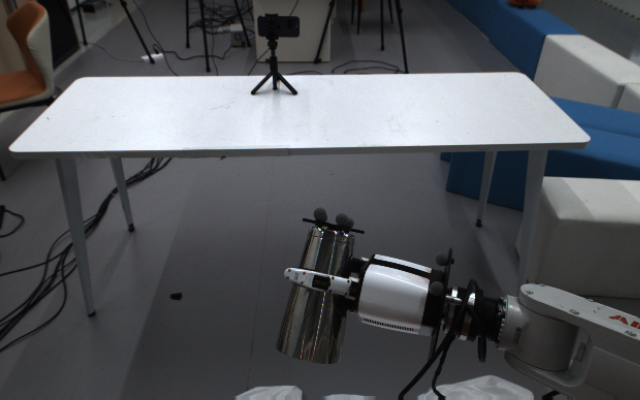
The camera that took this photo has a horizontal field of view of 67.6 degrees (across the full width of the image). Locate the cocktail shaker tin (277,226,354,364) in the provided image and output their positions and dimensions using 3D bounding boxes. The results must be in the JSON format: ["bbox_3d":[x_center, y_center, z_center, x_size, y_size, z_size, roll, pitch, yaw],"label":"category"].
[{"bbox_3d":[0.002,0.128,0.672,0.093,0.170,0.093,11,-5,1],"label":"cocktail shaker tin"}]
